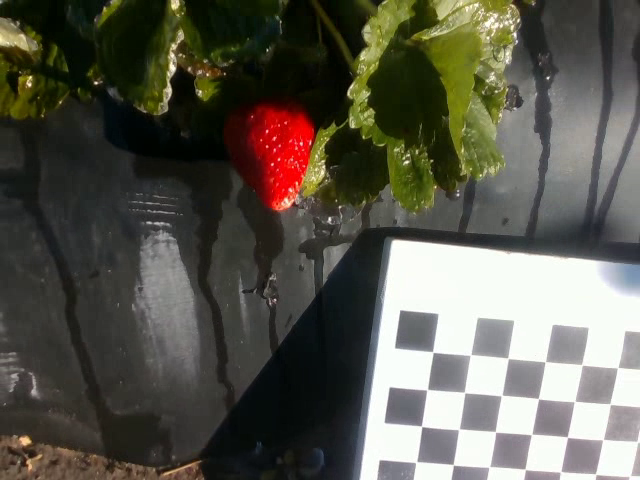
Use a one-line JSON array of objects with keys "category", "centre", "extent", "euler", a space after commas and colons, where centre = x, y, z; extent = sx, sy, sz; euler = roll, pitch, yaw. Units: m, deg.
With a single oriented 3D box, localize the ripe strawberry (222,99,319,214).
[{"category": "ripe strawberry", "centre": [-0.019, -0.033, 0.234], "extent": [0.041, 0.053, 0.047], "euler": [-1, -29, -5]}]
